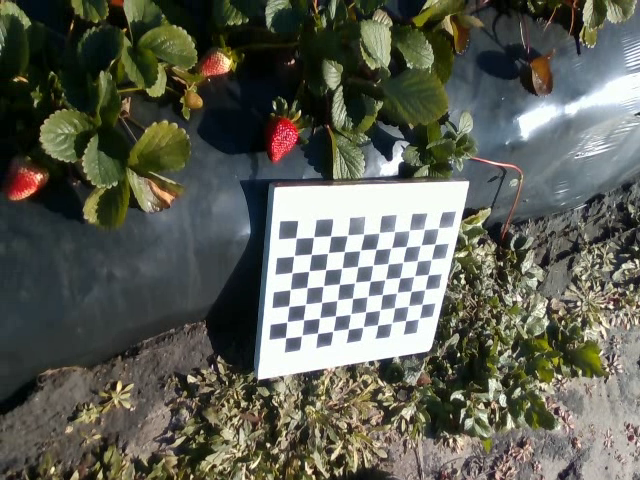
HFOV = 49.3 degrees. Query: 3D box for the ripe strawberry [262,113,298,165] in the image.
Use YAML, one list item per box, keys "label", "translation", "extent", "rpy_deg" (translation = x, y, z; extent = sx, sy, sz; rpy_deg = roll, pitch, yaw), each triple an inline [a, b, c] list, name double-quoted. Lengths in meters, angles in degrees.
- label: "ripe strawberry"
  translation: [-0.049, -0.112, 0.778]
  extent: [0.058, 0.062, 0.066]
  rpy_deg: [-27, -48, 20]
